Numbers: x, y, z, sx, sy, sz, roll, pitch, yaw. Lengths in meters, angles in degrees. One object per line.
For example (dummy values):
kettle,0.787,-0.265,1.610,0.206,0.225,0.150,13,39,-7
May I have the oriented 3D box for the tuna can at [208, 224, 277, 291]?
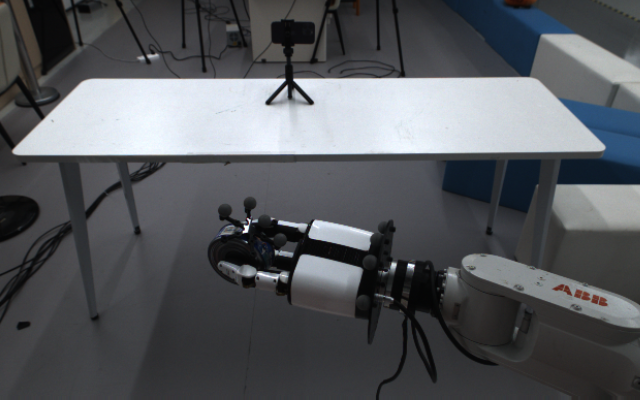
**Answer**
tuna can,-0.103,0.081,0.647,0.085,0.085,0.034,12,35,14
